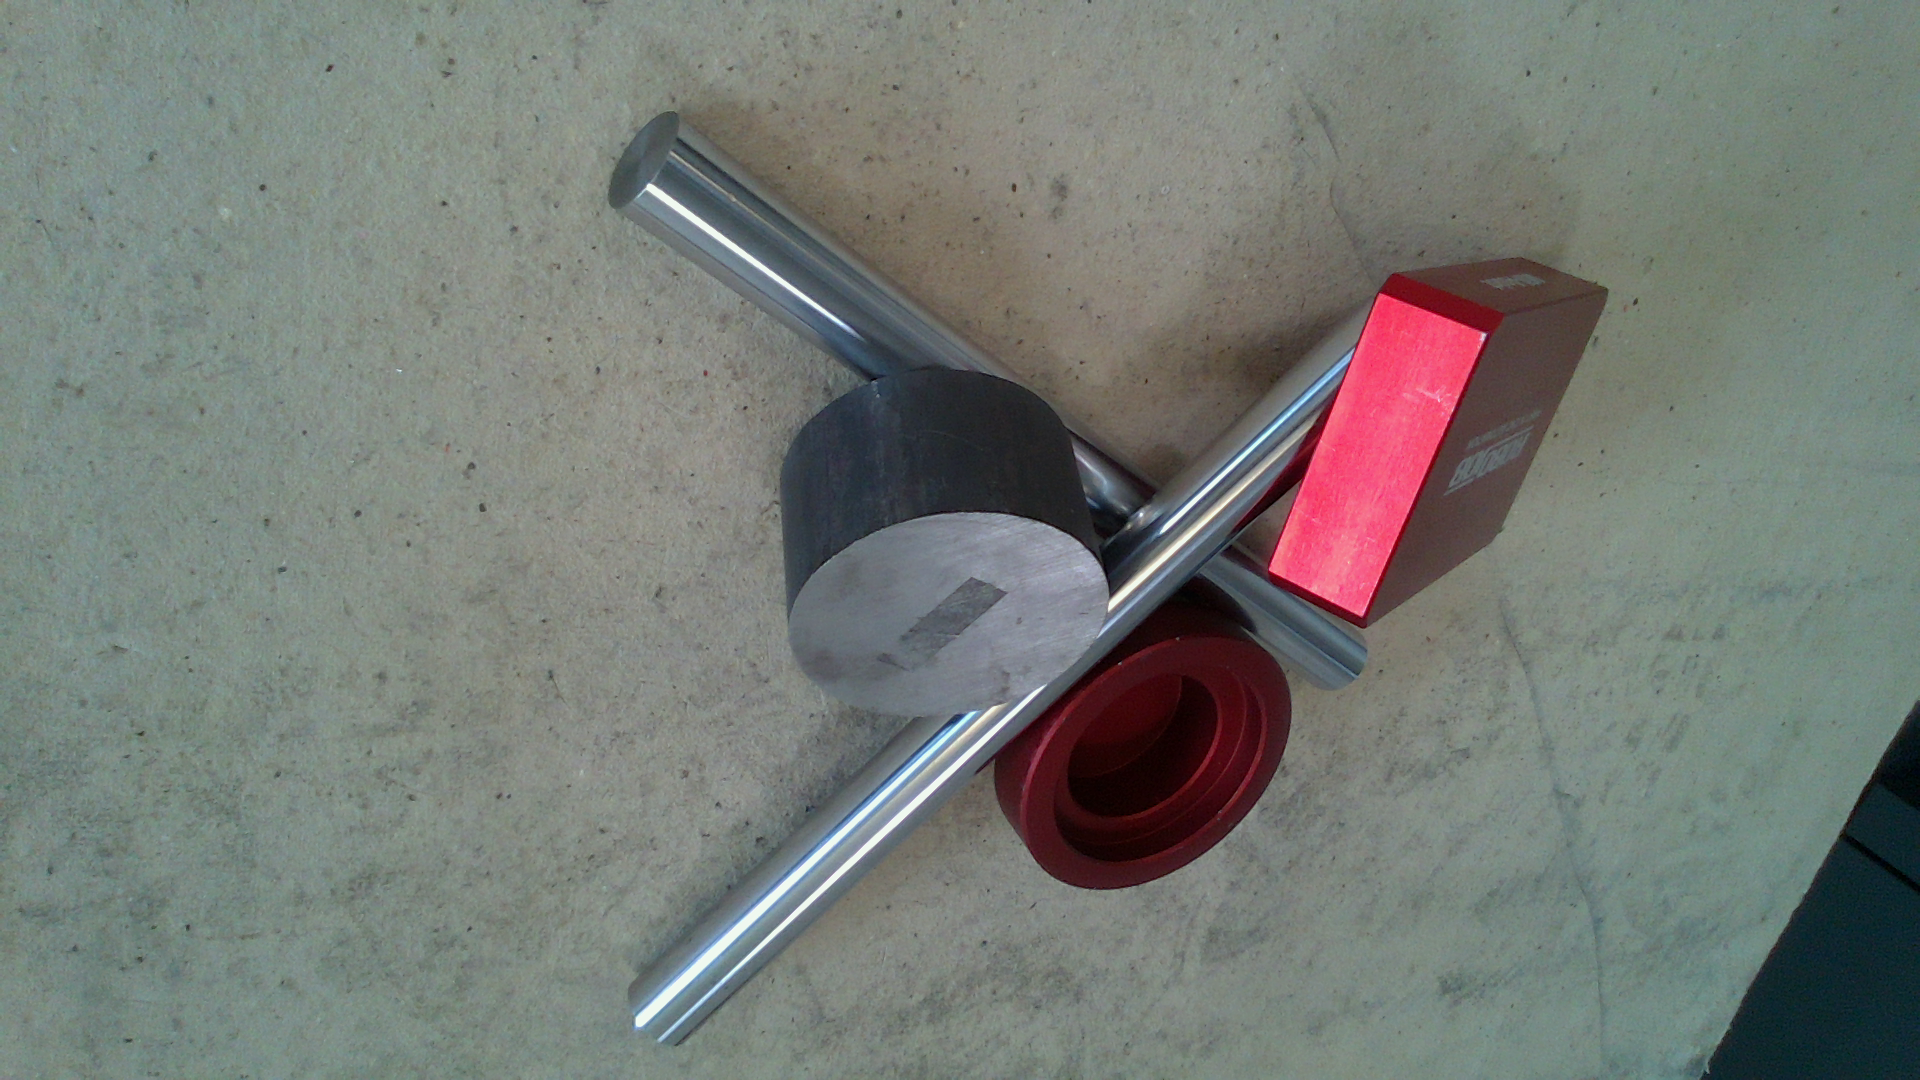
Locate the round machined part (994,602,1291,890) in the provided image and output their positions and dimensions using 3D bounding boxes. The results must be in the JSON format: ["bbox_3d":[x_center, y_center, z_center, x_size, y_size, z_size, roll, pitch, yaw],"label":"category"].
[{"bbox_3d":[0.054,0.062,0.446,0.098,0.042,0.098,-14,124,-21],"label":"round machined part"}]

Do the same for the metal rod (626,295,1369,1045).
[{"bbox_3d":[0.012,0.044,0.401,0.300,0.025,0.025,-44,130,10],"label":"metal rod"}]

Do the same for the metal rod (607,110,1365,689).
[{"bbox_3d":[0.031,-0.021,0.394,0.301,0.025,0.025,32,101,-38],"label":"metal rod"}]

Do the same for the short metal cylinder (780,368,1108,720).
[{"bbox_3d":[-0.006,0.003,0.355,0.080,0.050,0.080,-6,138,-5],"label":"short metal cylinder"}]

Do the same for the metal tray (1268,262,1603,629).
[{"bbox_3d":[0.144,-0.033,0.407,0.131,0.030,0.090,-19,131,-52],"label":"metal tray"}]
